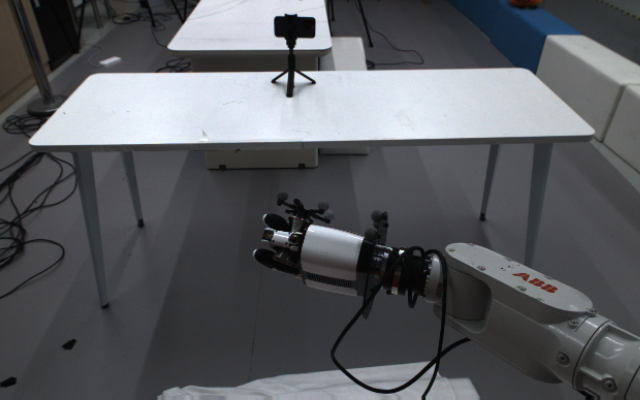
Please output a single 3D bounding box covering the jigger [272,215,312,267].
[{"bbox_3d":[-0.038,0.063,0.739,0.043,0.043,0.071,13,70,16],"label":"jigger"}]
